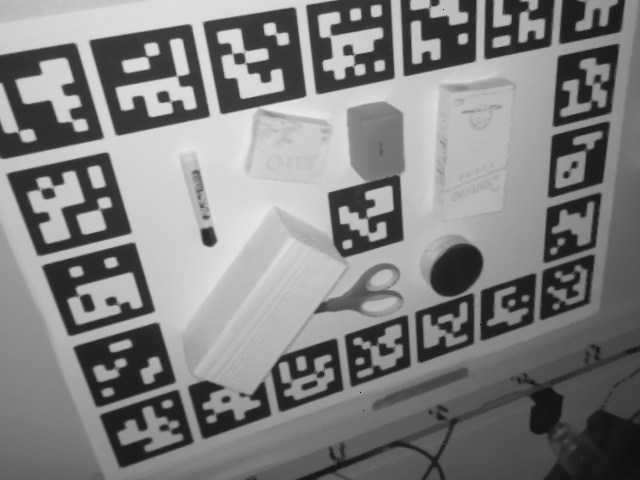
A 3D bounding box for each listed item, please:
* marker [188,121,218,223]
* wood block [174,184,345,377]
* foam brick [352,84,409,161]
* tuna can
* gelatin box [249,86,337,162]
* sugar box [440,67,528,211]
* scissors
[{"bbox_3d":[-0.133,-0.076,0.796,0.020,0.019,0.120,-11,115,-15],"label":"marker"},{"bbox_3d":[-0.077,0.048,0.840,0.090,0.091,0.205,33,100,-30],"label":"wood block"},{"bbox_3d":[0.072,-0.141,0.824,0.053,0.051,0.077,-11,116,-16],"label":"foam brick"},{"bbox_3d":[0.197,0.026,0.961,0.087,0.033,0.085,-9,116,-17],"label":"tuna can"},{"bbox_3d":[-0.032,-0.133,0.805,0.090,0.030,0.072,5,111,-23],"label":"gelatin box"},{"bbox_3d":[0.208,-0.128,0.892,0.094,0.045,0.175,-8,116,-16],"label":"sugar box"},{"bbox_3d":[0.029,0.065,0.929,0.205,0.016,0.087,-7,116,-21],"label":"scissors"}]
